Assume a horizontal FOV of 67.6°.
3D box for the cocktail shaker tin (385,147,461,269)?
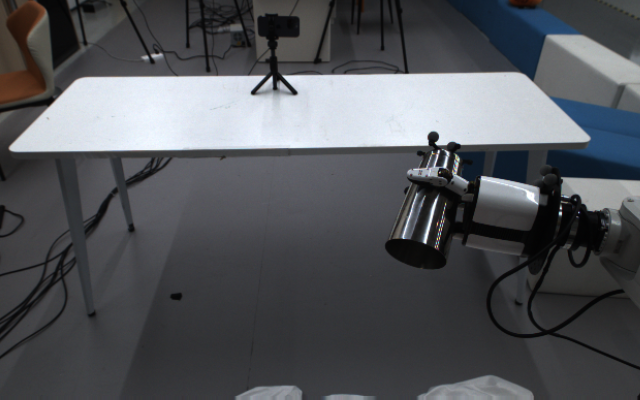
[{"bbox_3d":[0.167,0.008,0.734,0.093,0.093,0.170,15,63,17],"label":"cocktail shaker tin"}]
